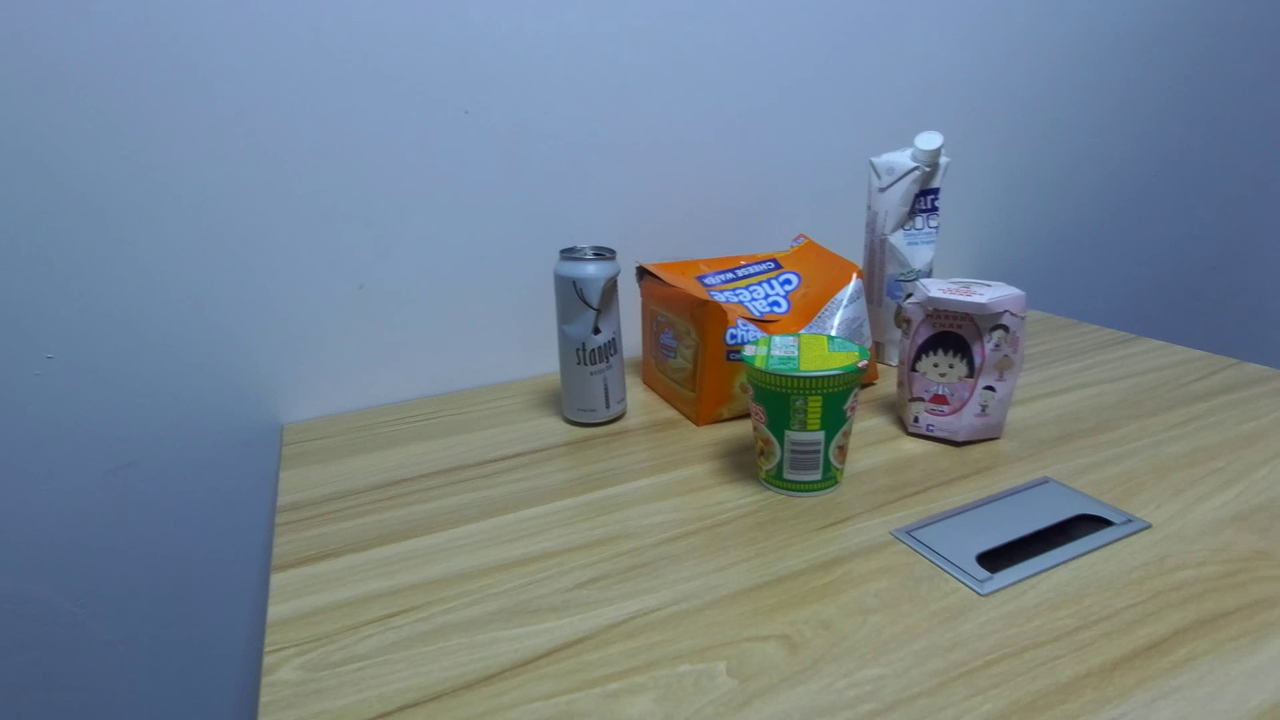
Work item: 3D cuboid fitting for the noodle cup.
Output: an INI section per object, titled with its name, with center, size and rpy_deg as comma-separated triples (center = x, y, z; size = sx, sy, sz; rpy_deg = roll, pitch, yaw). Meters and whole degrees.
[noodle cup]
center = 0.126, 0.045, 0.558
size = 0.097, 0.110, 0.097
rpy_deg = -2, 18, 1

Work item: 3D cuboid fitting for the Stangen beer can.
[Stangen beer can]
center = -0.046, -0.024, 0.689
size = 0.070, 0.173, 0.069
rpy_deg = -10, 19, -23

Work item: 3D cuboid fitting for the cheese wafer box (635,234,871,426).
[cheese wafer box]
center = 0.130, -0.038, 0.746
size = 0.220, 0.145, 0.190
rpy_deg = -11, 20, -22

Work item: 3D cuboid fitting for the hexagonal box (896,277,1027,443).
[hexagonal box]
center = 0.286, -0.001, 0.640
size = 0.090, 0.134, 0.091
rpy_deg = -5, 19, -14

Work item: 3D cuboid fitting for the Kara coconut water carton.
[Kara coconut water carton]
center = 0.294, -0.124, 0.801
size = 0.083, 0.255, 0.078
rpy_deg = -8, 20, -22
